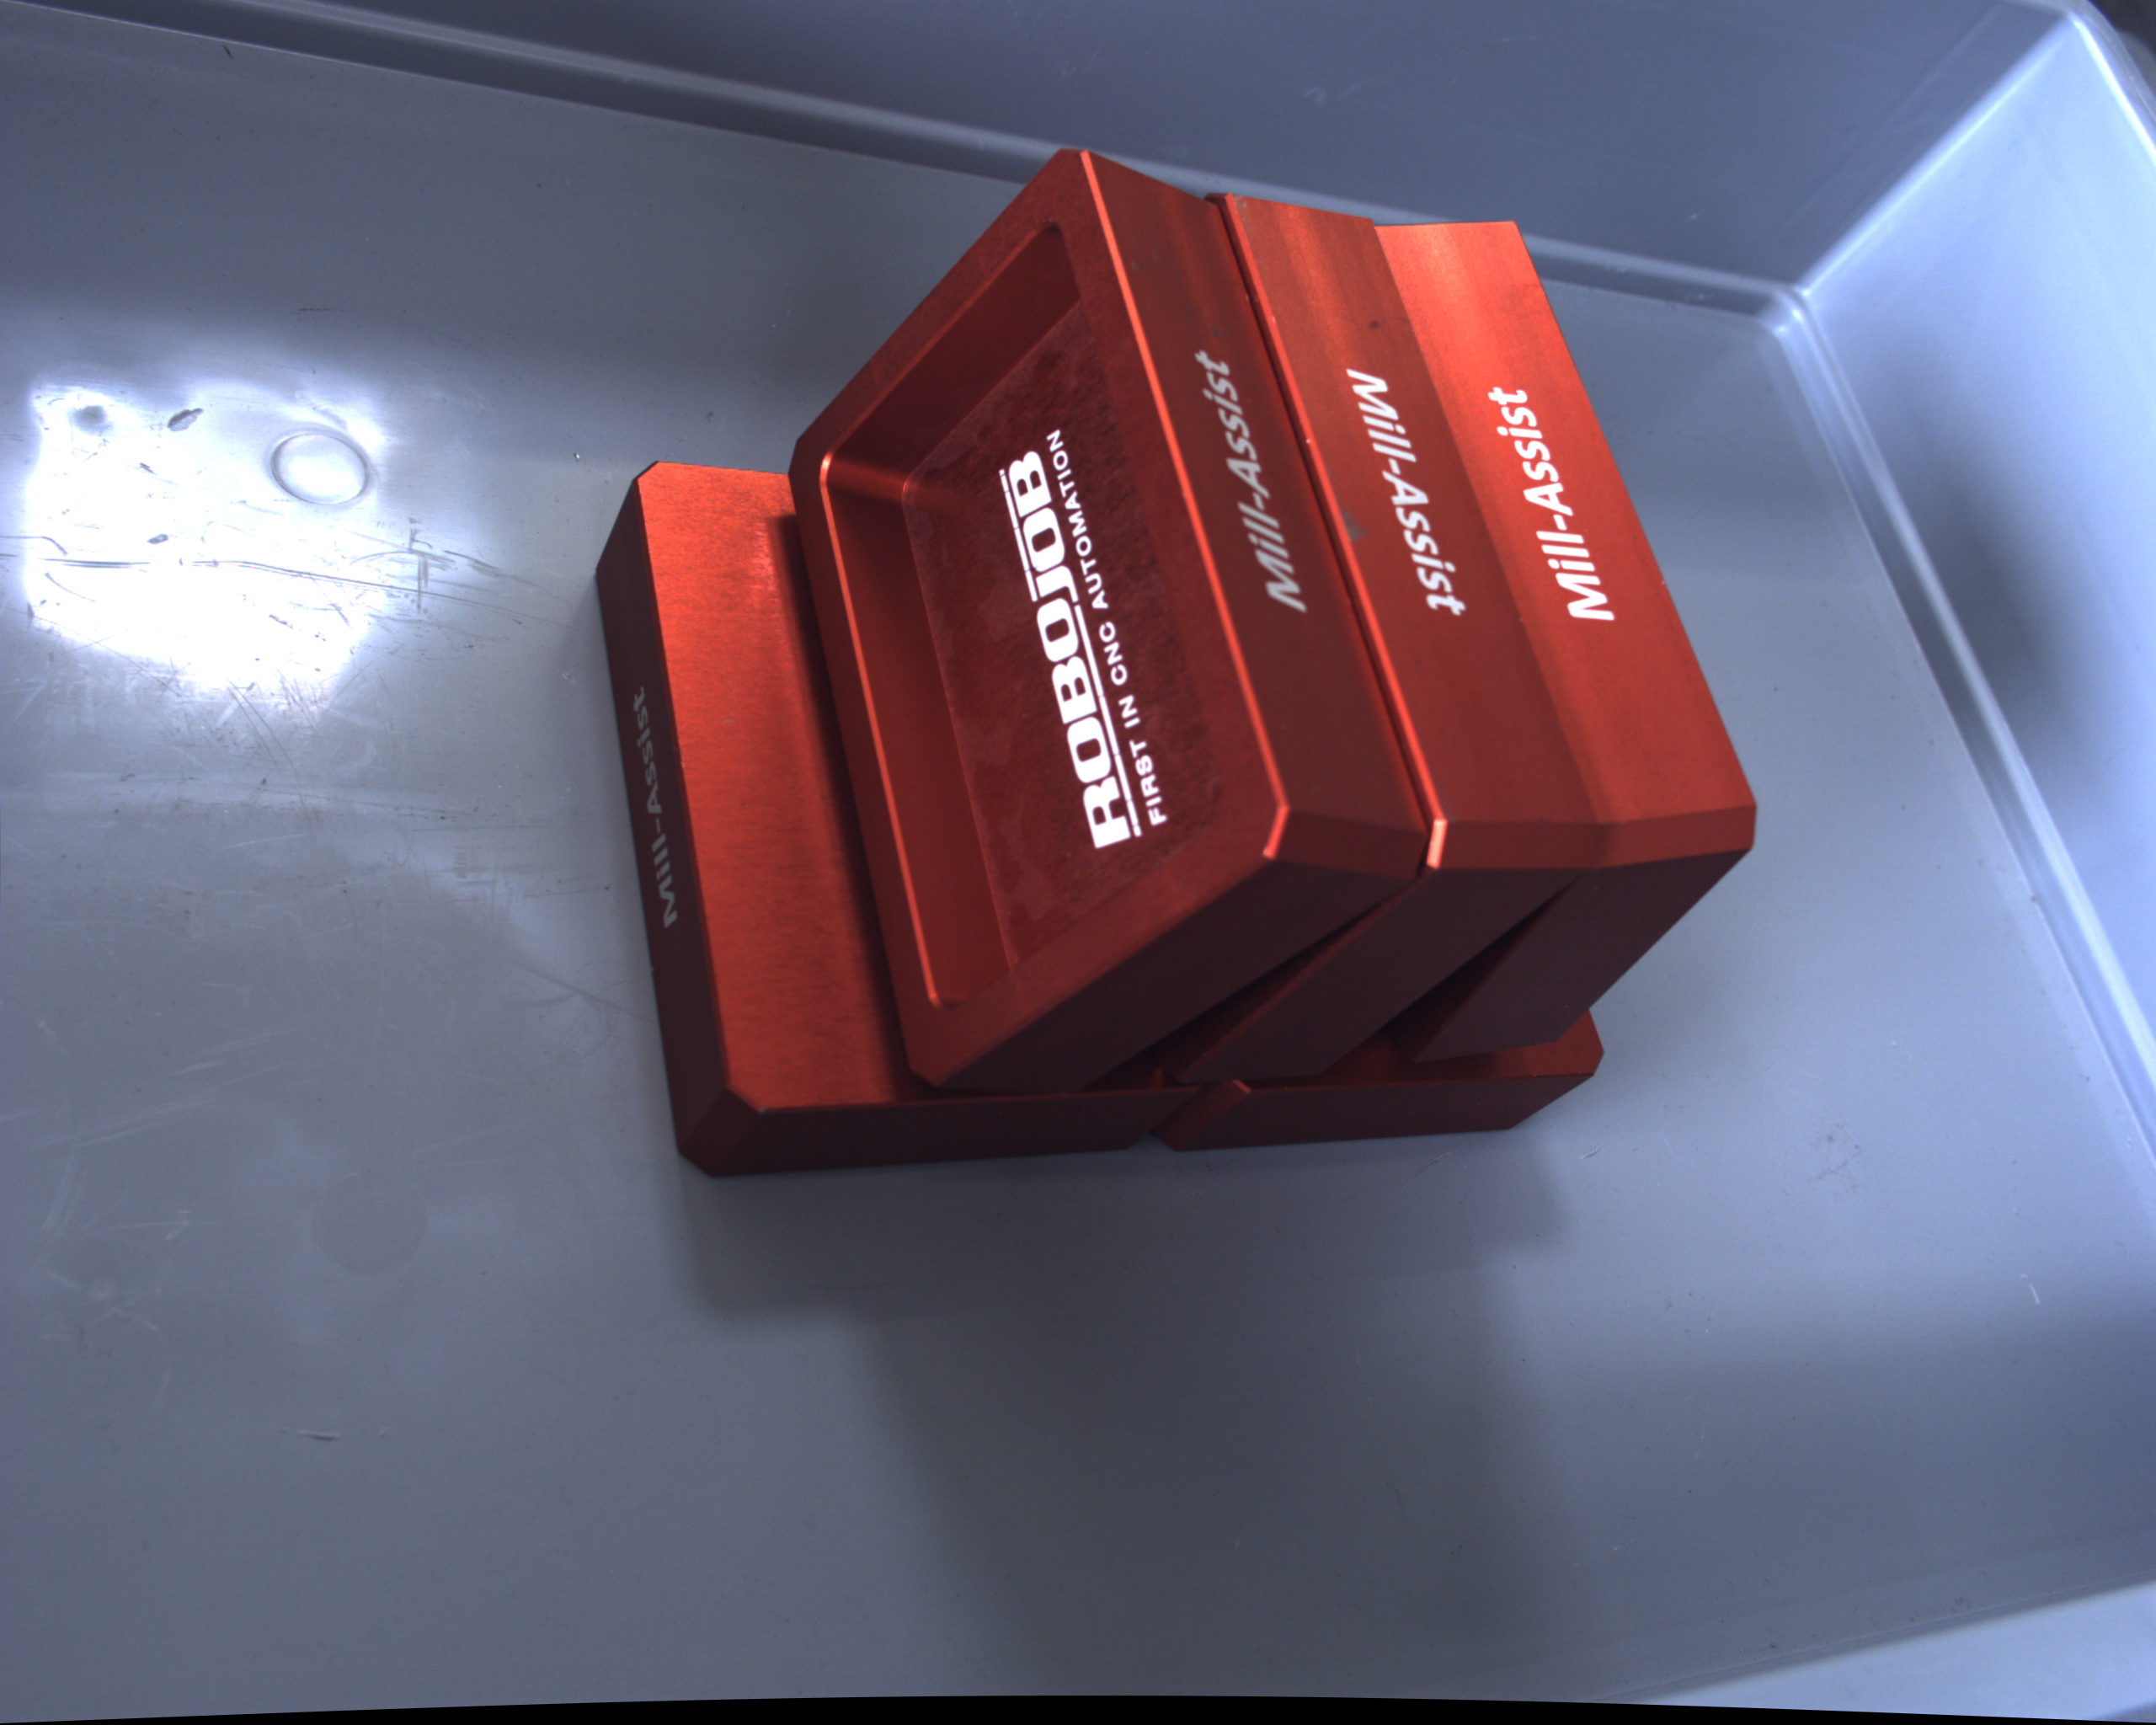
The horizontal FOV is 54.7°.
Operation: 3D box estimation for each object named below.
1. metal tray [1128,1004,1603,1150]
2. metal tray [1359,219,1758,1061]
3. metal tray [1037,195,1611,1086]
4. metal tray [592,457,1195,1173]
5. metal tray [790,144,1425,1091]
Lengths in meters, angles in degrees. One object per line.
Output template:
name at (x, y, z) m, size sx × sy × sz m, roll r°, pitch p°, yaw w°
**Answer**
metal tray at (0.046, -0.009, 0.430) m, size 0.091 × 0.030 × 0.130 m, roll 0°, pitch 62°, yaw -28°
metal tray at (0.070, -0.040, 0.382) m, size 0.030 × 0.090 × 0.130 m, roll -7°, pitch 65°, yaw -15°
metal tray at (0.034, -0.038, 0.362) m, size 0.030 × 0.090 × 0.130 m, roll 0°, pitch 60°, yaw -28°
metal tray at (-0.035, -0.011, 0.387) m, size 0.091 × 0.030 × 0.130 m, roll 0°, pitch 62°, yaw -28°
metal tray at (-0.002, -0.038, 0.342) m, size 0.030 × 0.090 × 0.130 m, roll 8°, pitch 57°, yaw -39°
